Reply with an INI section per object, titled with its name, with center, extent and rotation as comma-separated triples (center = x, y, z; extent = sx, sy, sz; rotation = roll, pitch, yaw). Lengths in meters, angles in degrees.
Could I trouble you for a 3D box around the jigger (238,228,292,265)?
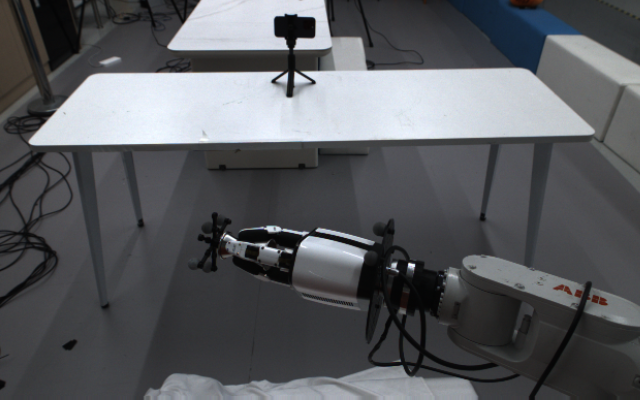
[jigger]
center = -0.093, 0.064, 0.659
extent = 0.071, 0.043, 0.043
rotation = 10, 35, 16
